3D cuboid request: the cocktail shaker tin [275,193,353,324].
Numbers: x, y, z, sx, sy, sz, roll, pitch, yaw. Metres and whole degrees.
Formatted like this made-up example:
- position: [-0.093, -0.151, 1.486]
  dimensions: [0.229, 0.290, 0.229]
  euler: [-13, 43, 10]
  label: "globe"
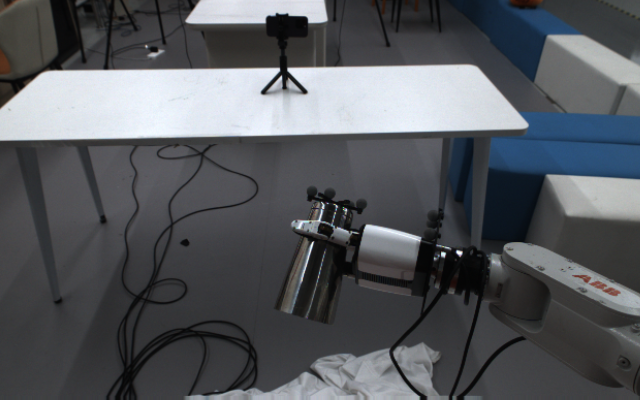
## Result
- position: [0.000, 0.090, 0.732]
  dimensions: [0.093, 0.093, 0.170]
  euler: [13, 77, 15]
  label: "cocktail shaker tin"
